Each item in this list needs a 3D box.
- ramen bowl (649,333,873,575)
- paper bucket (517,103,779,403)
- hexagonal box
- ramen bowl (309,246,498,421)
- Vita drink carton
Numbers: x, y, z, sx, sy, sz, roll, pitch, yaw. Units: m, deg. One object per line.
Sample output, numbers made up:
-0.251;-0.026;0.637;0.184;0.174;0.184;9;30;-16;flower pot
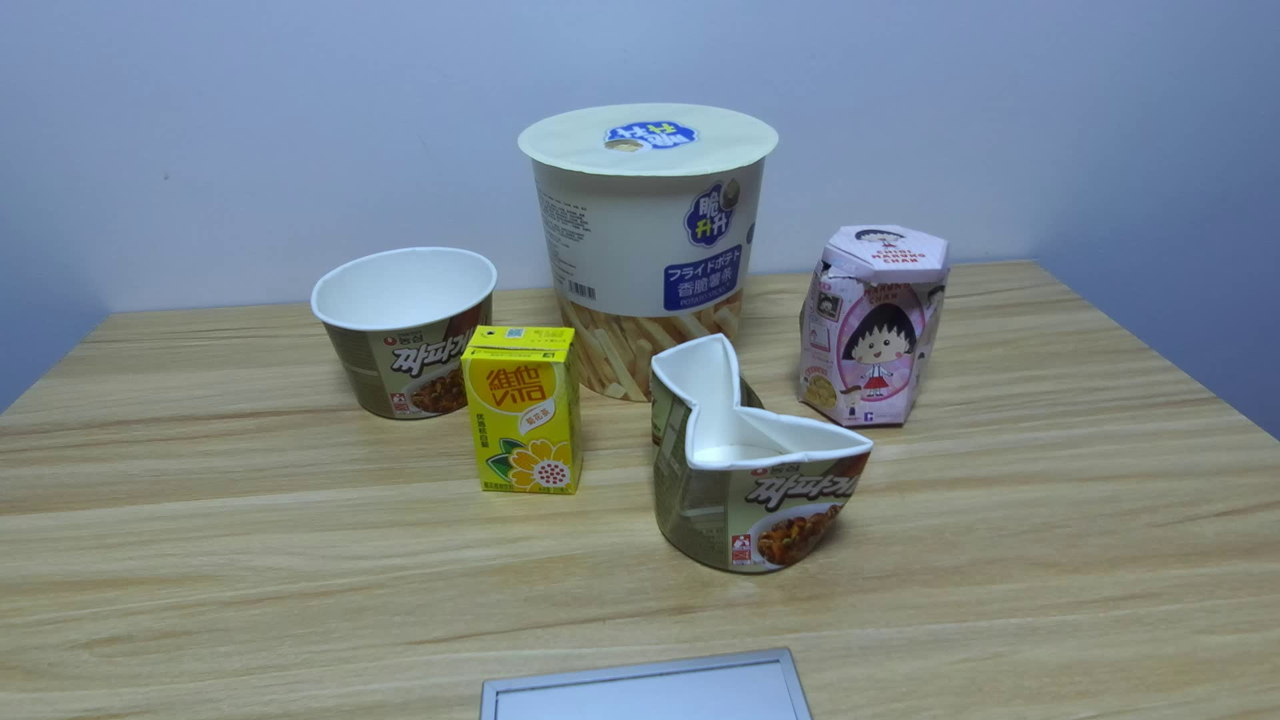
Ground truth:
0.063;0.055;0.440;0.112;0.093;0.128;-8;34;-9;ramen bowl
0.007;-0.085;0.569;0.198;0.195;0.198;-1;33;1;paper bucket
0.171;-0.026;0.531;0.091;0.134;0.090;20;35;30;hexagonal box
-0.180;-0.021;0.573;0.140;0.095;0.140;0;33;1;ramen bowl
-0.074;0.034;0.468;0.066;0.109;0.043;2;33;4;Vita drink carton
